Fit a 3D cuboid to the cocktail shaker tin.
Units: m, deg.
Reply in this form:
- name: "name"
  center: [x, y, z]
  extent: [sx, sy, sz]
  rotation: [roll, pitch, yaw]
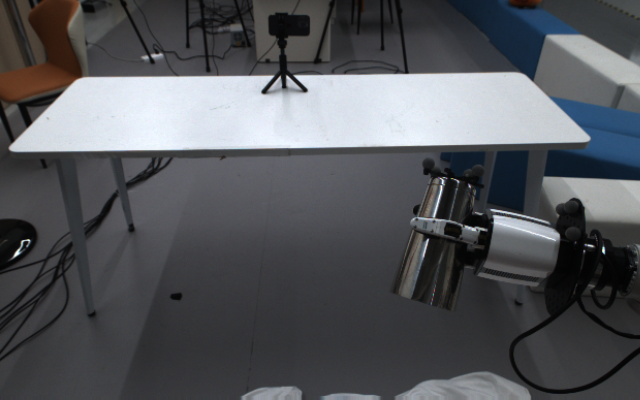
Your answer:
- name: "cocktail shaker tin"
  center: [0.163, 0.057, 0.674]
  extent: [0.093, 0.170, 0.093]
  rotation: [16, -6, 2]
